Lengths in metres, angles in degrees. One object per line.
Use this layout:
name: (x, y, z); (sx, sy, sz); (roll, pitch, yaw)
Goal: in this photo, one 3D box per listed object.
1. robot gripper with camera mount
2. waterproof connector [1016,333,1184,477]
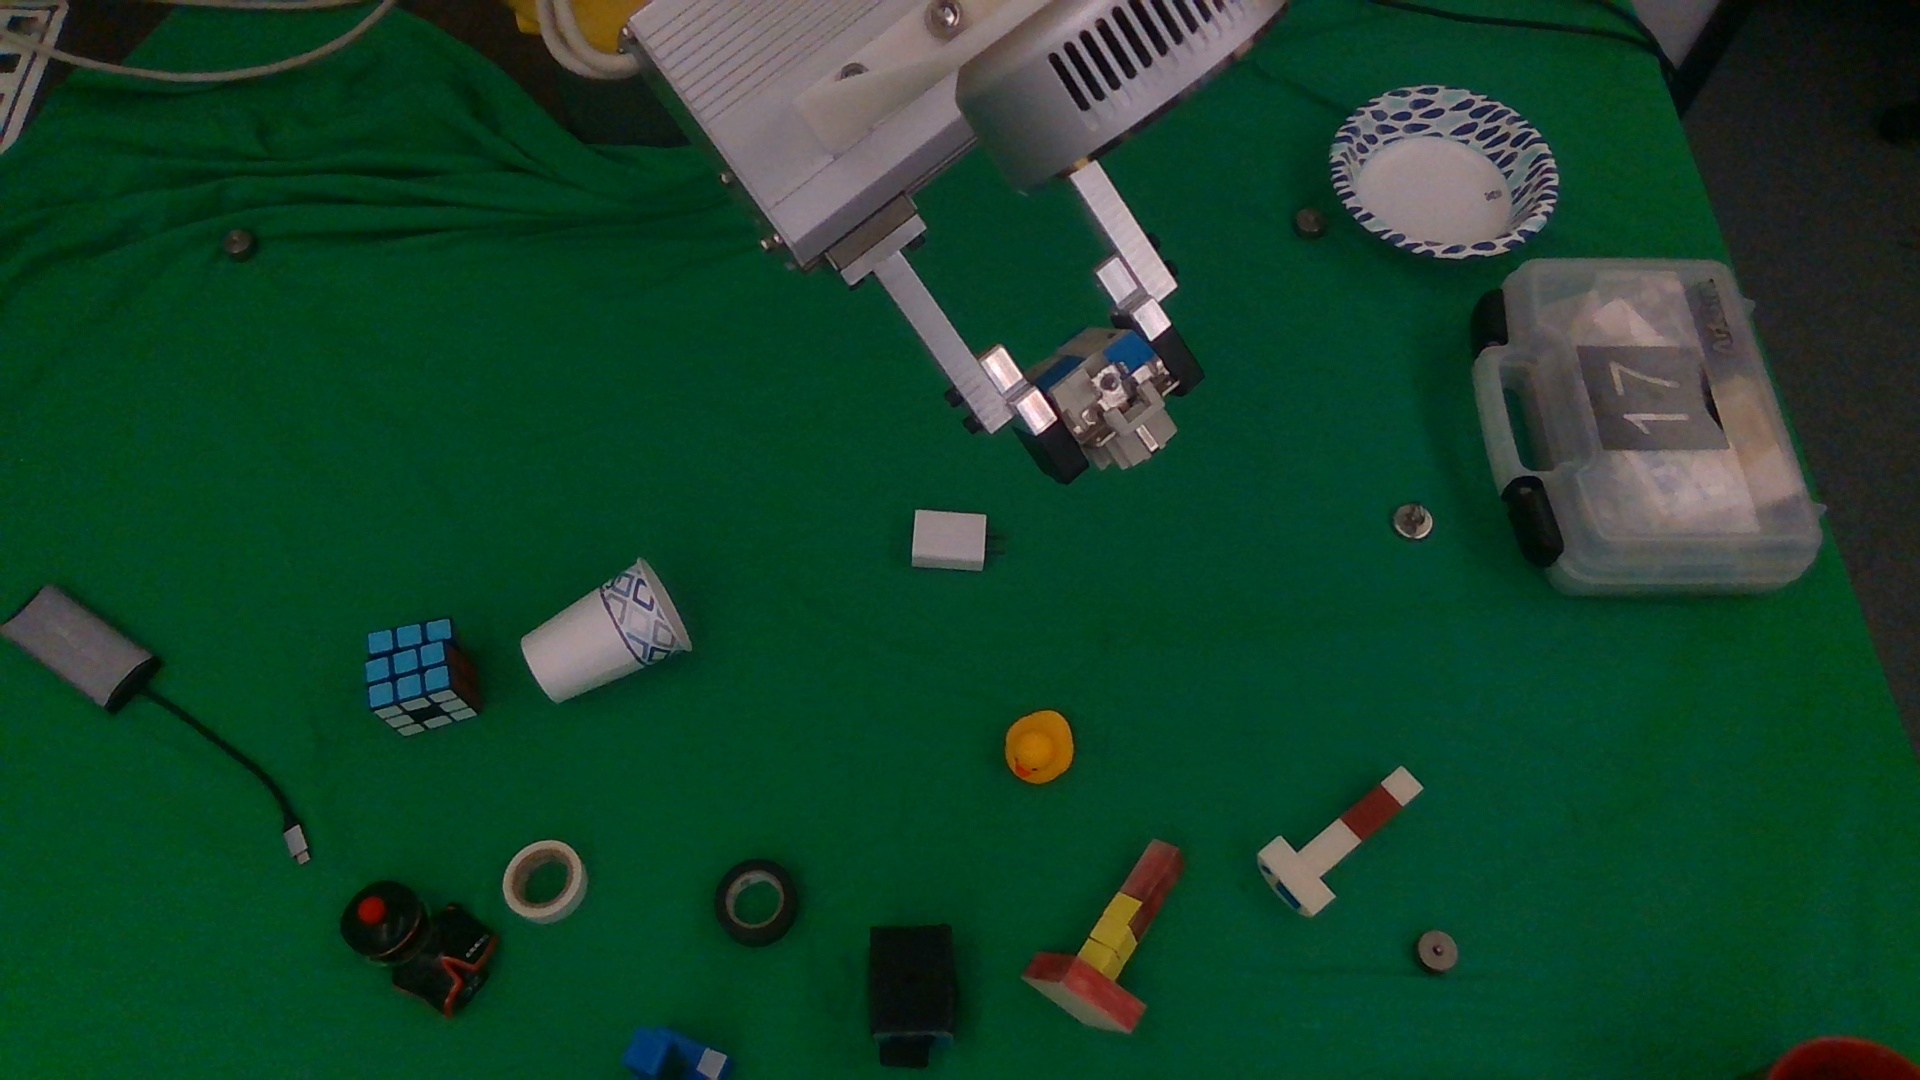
robot gripper with camera mount: (0.035, -0.089, 0.336); (0.119, 0.194, 0.158); (-37, 107, -12)
waterproof connector: (0.045, -0.041, 0.435); (0.035, 0.065, 0.037); (-41, 106, -6)
